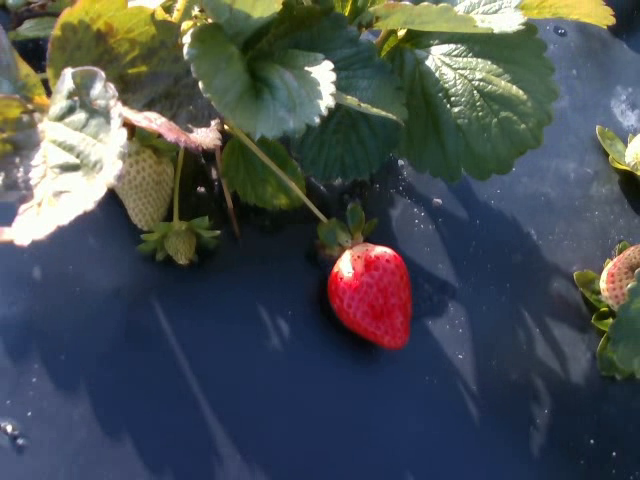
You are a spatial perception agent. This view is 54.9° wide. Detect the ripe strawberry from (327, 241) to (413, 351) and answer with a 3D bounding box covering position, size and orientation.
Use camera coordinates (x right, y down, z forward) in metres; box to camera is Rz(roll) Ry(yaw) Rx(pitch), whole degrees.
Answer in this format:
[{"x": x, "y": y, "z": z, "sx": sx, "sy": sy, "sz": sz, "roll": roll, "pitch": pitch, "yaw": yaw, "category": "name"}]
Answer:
[{"x": 0.021, "y": 0.021, "z": 0.203, "sx": 0.030, "sy": 0.044, "sz": 0.033, "roll": -25, "pitch": -22, "yaw": 18, "category": "ripe strawberry"}]
